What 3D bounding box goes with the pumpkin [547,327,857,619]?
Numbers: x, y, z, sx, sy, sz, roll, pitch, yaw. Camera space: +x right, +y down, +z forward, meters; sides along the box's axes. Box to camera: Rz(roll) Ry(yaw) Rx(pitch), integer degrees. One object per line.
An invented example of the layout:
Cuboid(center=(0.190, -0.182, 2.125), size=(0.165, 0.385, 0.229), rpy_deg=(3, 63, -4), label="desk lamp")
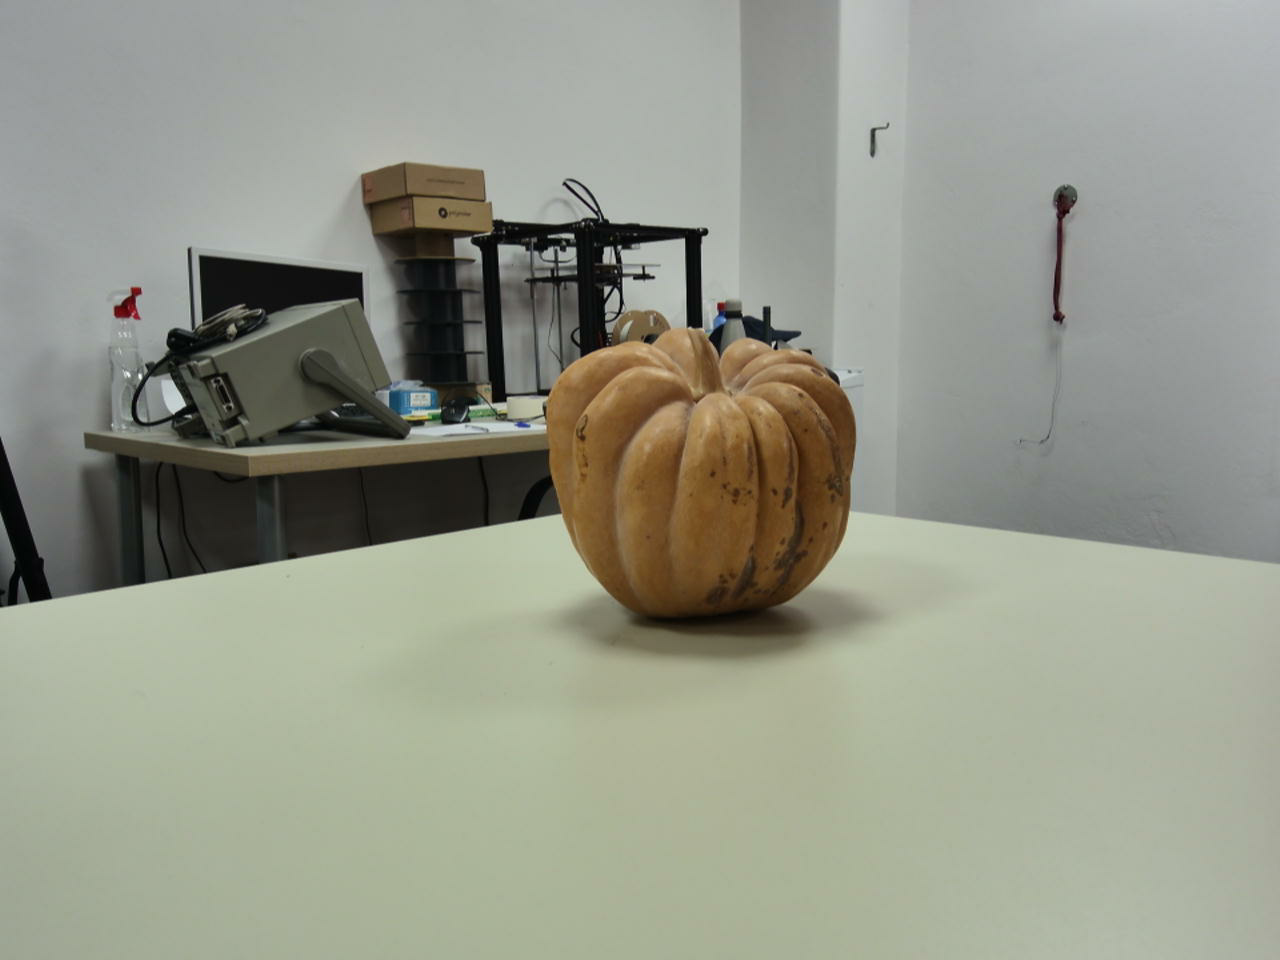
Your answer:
Cuboid(center=(0.037, -0.006, 0.626), size=(0.199, 0.177, 0.198), rpy_deg=(-1, 6, 0), label="pumpkin")
